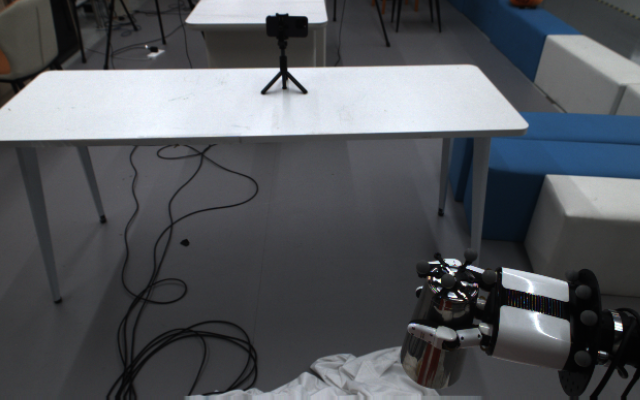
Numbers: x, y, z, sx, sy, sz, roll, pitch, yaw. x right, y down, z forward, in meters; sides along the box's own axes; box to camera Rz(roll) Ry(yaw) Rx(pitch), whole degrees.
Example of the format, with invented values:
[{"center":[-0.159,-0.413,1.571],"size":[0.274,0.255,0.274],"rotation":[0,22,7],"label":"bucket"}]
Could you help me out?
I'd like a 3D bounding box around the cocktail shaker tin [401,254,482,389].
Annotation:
[{"center":[0.170,0.166,0.665],"size":[0.093,0.170,0.093],"rotation":[0,39,0],"label":"cocktail shaker tin"}]
